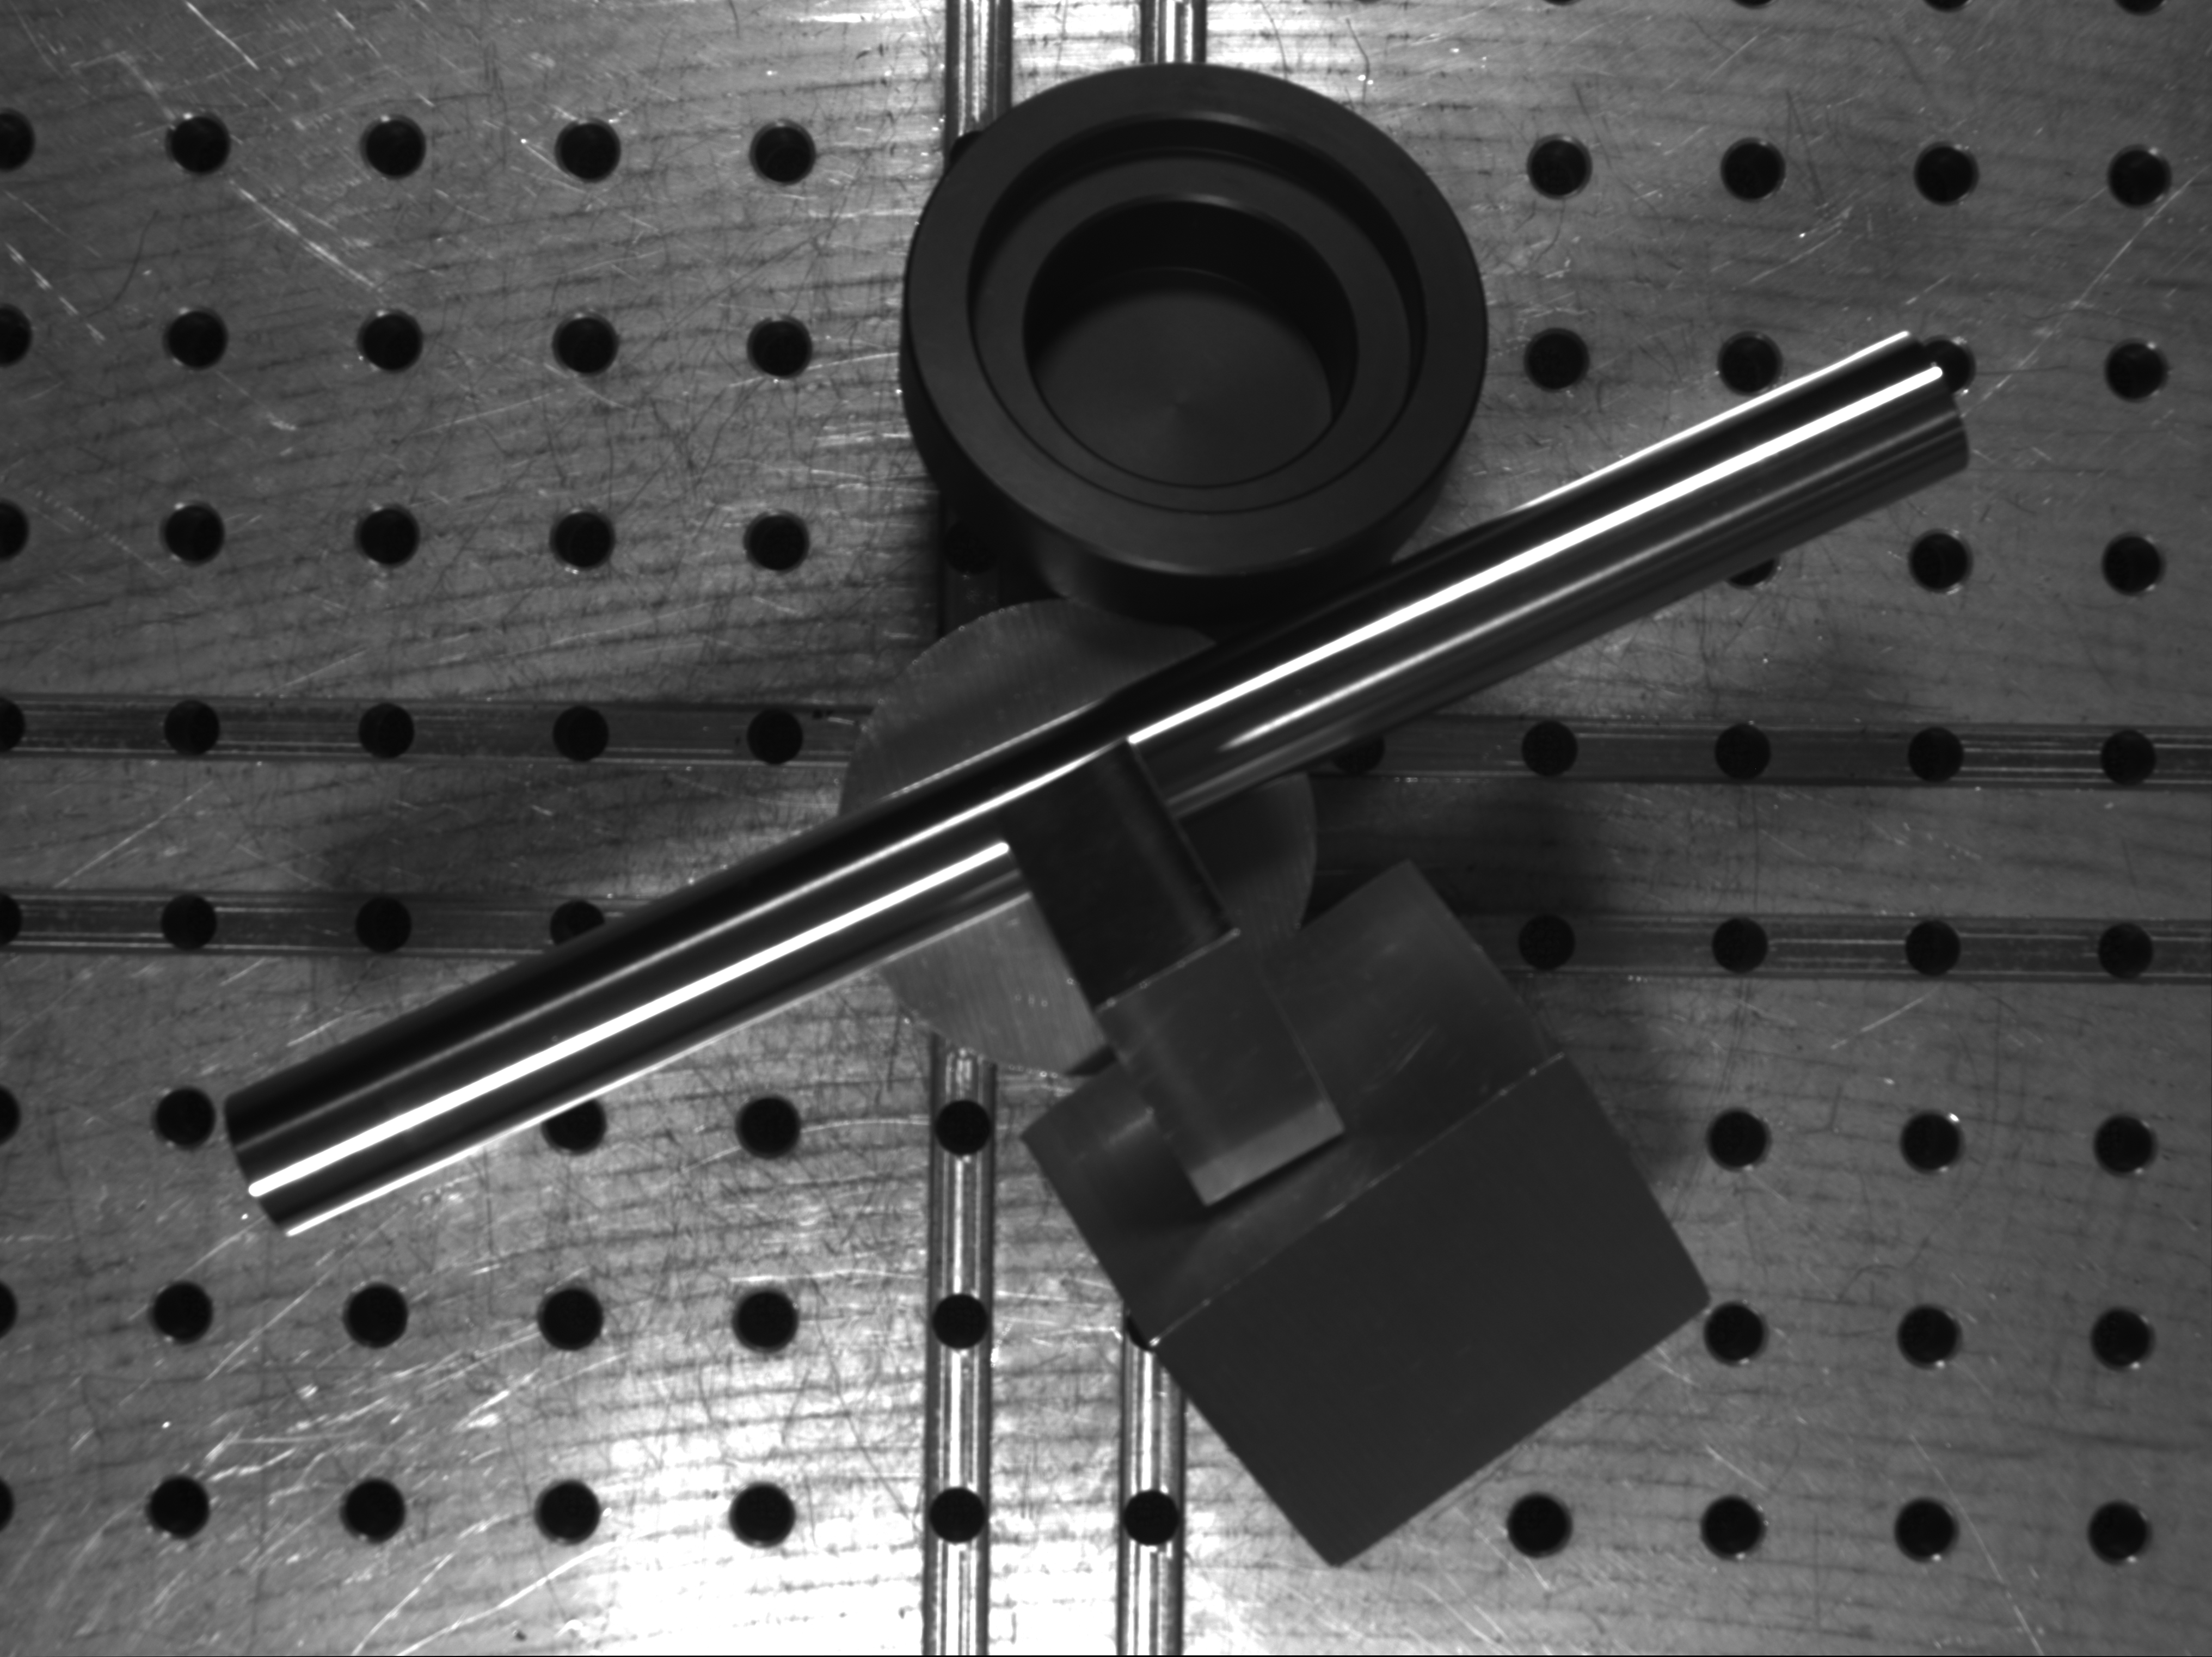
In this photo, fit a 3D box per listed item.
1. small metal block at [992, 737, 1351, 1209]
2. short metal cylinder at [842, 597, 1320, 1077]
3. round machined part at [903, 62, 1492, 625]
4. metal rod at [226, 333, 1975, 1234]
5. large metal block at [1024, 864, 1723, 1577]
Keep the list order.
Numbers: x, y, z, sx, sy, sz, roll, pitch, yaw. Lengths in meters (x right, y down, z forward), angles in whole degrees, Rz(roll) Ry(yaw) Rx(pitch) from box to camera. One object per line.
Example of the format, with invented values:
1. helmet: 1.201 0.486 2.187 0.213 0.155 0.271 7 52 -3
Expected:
1. small metal block: 0.010 0.023 0.574 0.025 0.050 0.050 -29 132 0
2. short metal cylinder: -0.004 0.001 0.634 0.080 0.050 0.080 0 90 0
3. round machined part: 0.014 -0.079 0.628 0.098 0.042 0.098 2 67 -5
4. metal rod: -0.001 -0.007 0.597 0.300 0.025 0.025 -24 90 -1
5. large metal block: 0.046 0.067 0.612 0.080 0.050 0.080 -35 135 0
